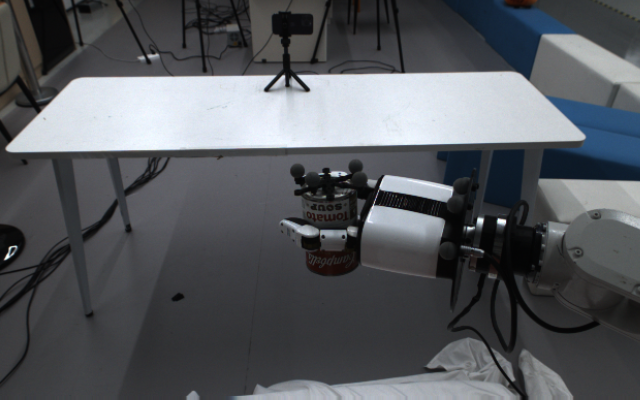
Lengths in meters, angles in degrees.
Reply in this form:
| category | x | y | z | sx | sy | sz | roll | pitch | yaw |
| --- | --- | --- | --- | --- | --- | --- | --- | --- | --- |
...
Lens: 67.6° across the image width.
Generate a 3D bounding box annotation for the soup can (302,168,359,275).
| category | x | y | z | sx | sy | sz | roll | pitch | yaw |
| --- | --- | --- | --- | --- | --- | --- | --- | --- | --- |
| soup can | 0.015 | 0.031 | 0.580 | 0.067 | 0.101 | 0.067 | -3 | 25 | 2 |
